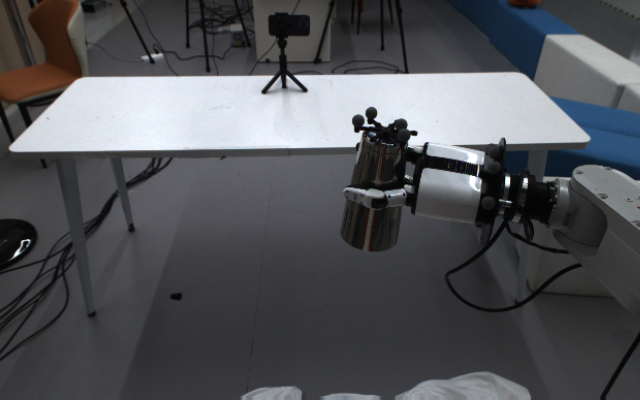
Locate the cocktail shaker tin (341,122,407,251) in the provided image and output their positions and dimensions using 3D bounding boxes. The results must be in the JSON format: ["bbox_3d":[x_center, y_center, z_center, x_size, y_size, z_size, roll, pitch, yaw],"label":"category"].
[{"bbox_3d":[0.084,-0.019,0.723,0.093,0.170,0.093,4,32,-2],"label":"cocktail shaker tin"}]
